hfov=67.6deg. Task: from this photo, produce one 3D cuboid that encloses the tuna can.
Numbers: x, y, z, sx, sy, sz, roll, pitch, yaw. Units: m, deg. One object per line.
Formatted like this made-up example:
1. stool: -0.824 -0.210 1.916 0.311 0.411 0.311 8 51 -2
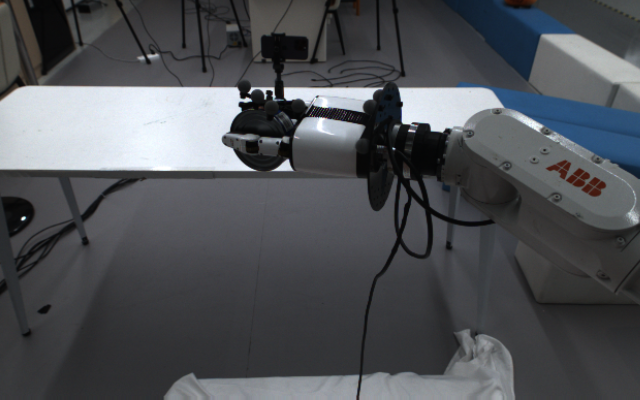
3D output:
1. tuna can: -0.074 -0.084 0.647 0.085 0.085 0.034 16 29 19
